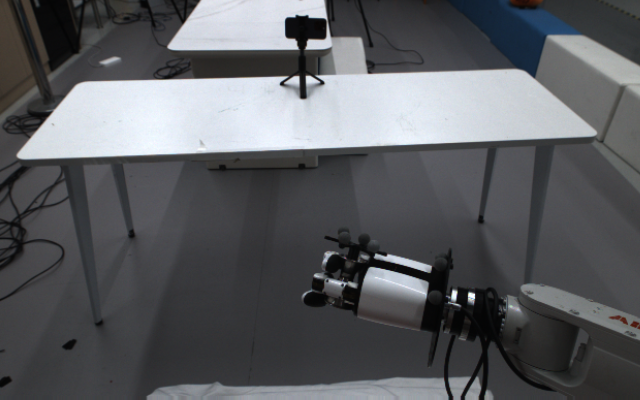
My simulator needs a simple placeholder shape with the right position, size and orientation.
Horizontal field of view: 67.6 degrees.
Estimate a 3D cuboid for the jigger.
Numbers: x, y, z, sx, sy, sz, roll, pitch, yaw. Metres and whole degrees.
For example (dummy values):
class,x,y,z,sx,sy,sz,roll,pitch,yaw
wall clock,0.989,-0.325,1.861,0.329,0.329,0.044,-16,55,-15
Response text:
class,x,y,z,sx,sy,sz,roll,pitch,yaw
jigger,0.036,0.112,0.669,0.043,0.071,0.043,17,2,-1
